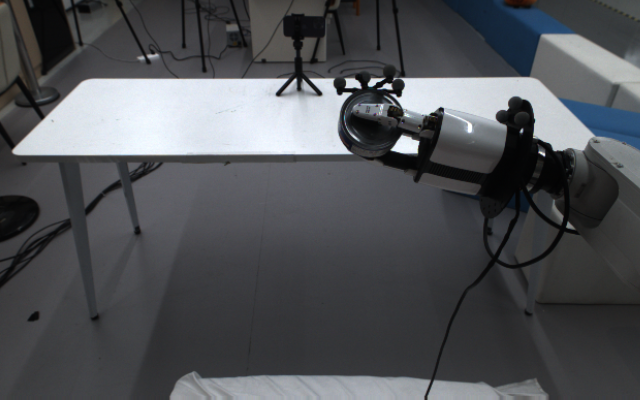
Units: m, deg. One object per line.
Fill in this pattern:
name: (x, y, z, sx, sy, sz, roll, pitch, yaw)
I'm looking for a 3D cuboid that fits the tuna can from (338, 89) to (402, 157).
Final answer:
tuna can: (0.067, -0.103, 0.637, 0.085, 0.034, 0.085, 1, 70, -4)
